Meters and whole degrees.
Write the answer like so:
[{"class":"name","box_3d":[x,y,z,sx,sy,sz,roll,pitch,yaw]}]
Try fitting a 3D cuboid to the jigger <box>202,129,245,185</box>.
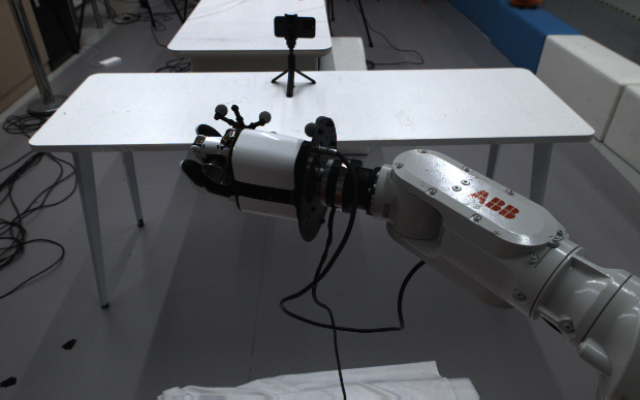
[{"class":"jigger","box_3d":[-0.122,-0.058,0.653,0.043,0.043,0.071,13,58,15]}]
